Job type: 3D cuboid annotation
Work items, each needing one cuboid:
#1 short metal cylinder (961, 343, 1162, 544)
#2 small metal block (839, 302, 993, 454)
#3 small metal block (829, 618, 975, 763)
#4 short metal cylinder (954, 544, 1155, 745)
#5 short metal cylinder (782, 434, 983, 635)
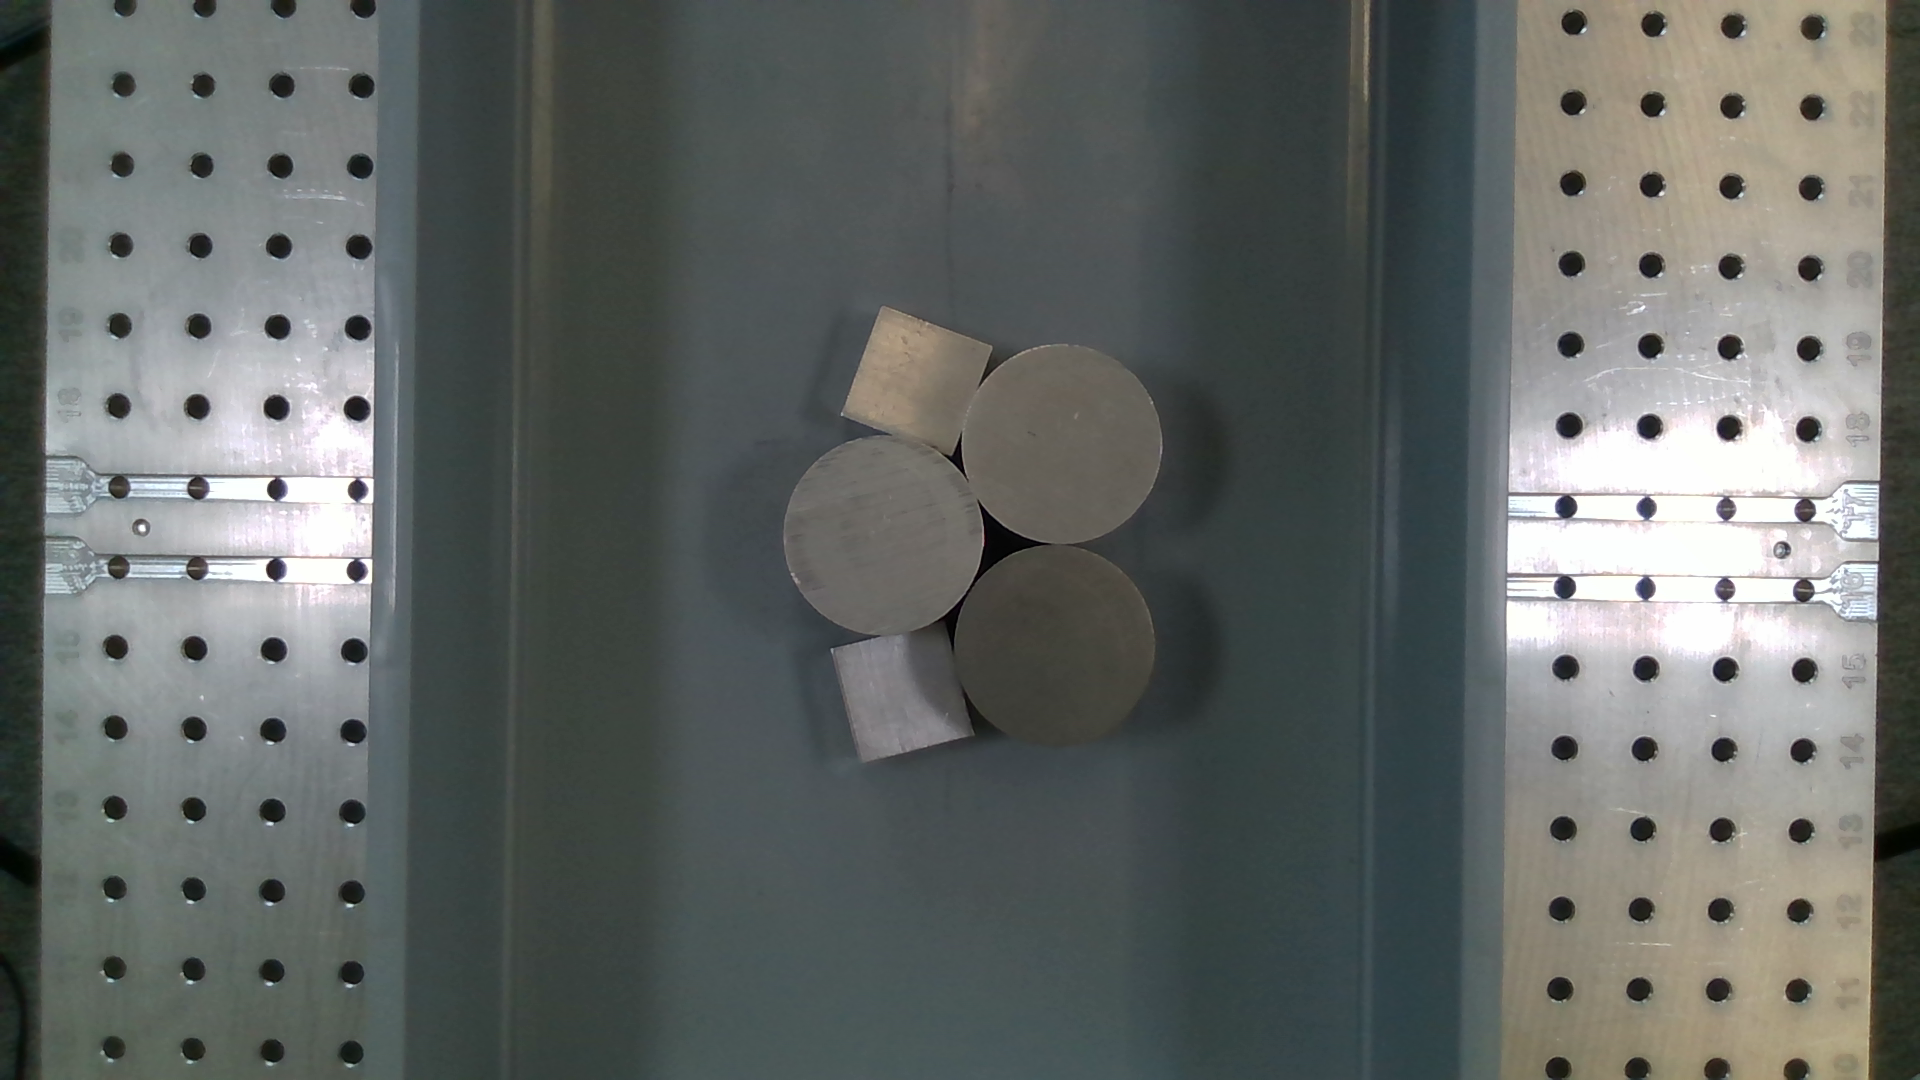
[{"bbox_3d":[0.040,-0.038,0.573,0.080,0.050,0.080,0,90,0],"label":"short metal cylinder"},{"bbox_3d":[-0.018,-0.067,0.586,0.050,0.025,0.050,21,90,0],"label":"small metal block"},{"bbox_3d":[-0.024,0.063,0.587,0.050,0.025,0.050,-14,90,0],"label":"small metal block"},{"bbox_3d":[0.038,0.042,0.574,0.080,0.050,0.080,0,90,0],"label":"short metal cylinder"},{"bbox_3d":[-0.031,-0.002,0.574,0.080,0.050,0.080,0,90,0],"label":"short metal cylinder"}]
